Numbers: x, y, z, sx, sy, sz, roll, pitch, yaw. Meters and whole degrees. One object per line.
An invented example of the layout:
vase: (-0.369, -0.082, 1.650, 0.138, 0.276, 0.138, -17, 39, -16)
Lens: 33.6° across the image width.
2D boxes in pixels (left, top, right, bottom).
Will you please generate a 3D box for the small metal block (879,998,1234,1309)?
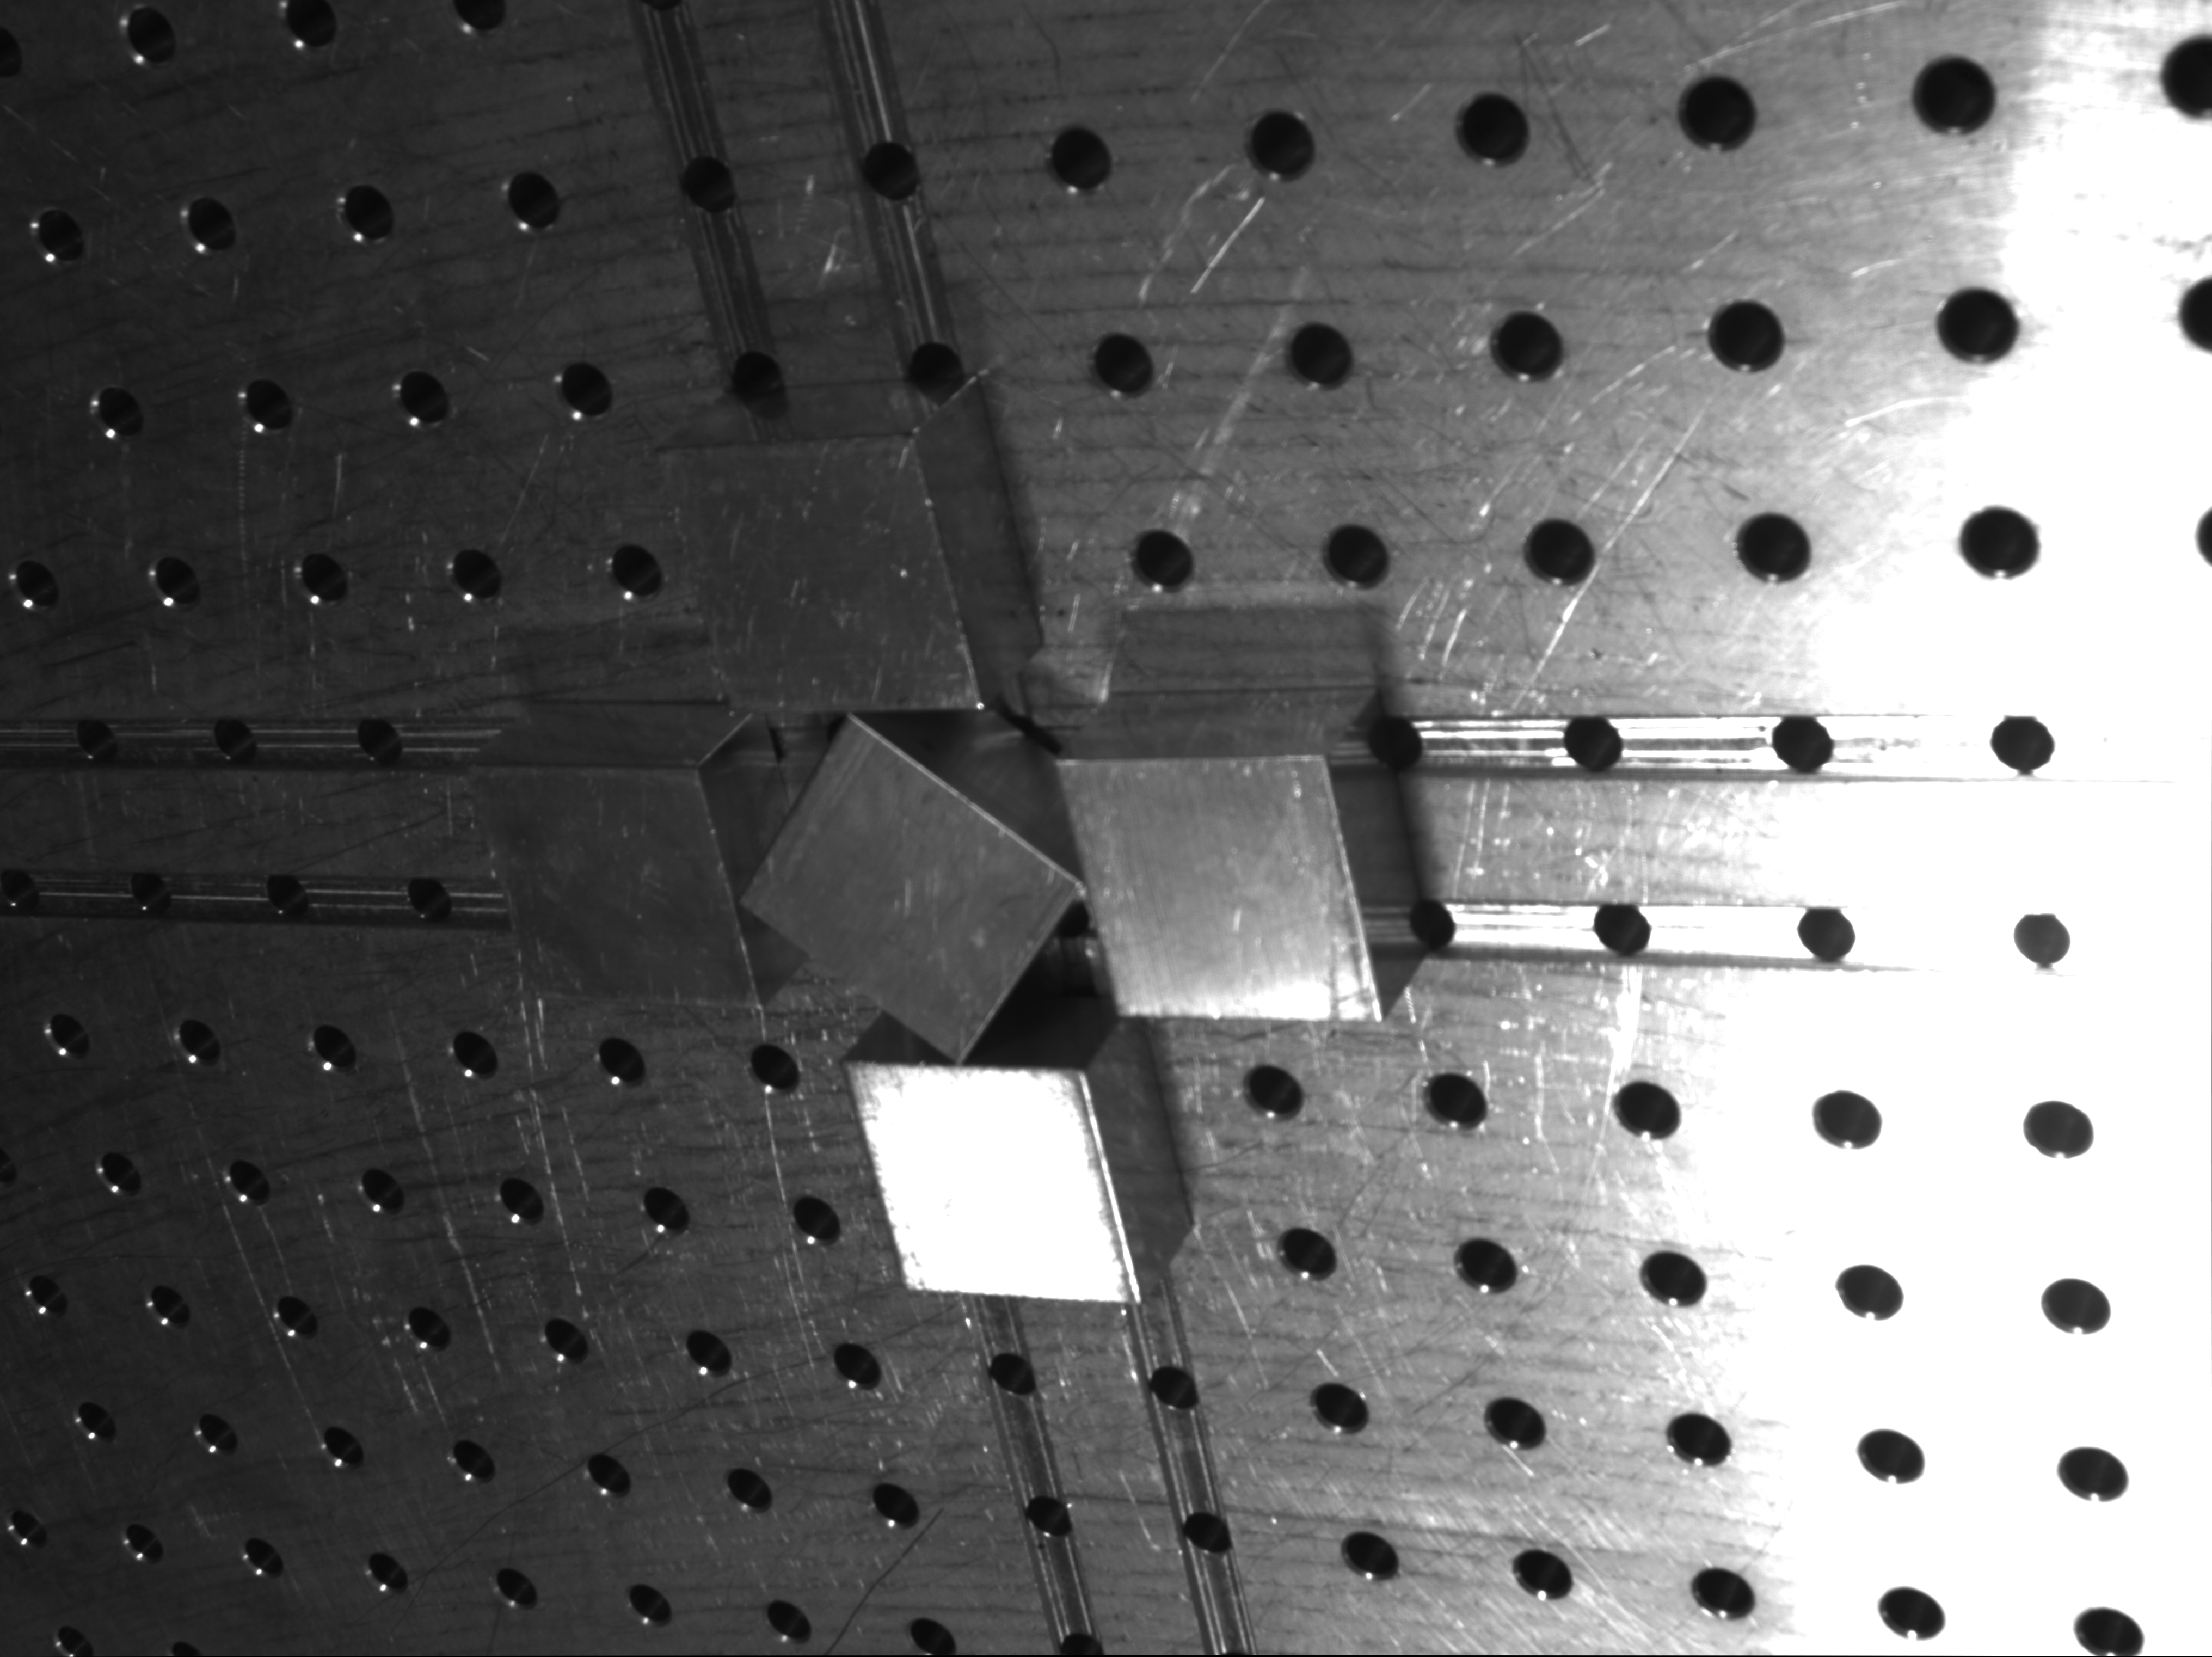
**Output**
small metal block: (-0.009, 0.059, 0.674, 0.050, 0.025, 0.050, 0, 118, 27)

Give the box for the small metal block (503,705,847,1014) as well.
small metal block: (-0.077, 0.005, 0.676, 0.050, 0.025, 0.050, 1, 119, 26)

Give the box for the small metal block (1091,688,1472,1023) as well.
small metal block: (0.030, 0.005, 0.622, 0.050, 0.025, 0.050, 0, 118, 27)

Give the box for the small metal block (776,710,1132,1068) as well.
small metal block: (-0.023, 0.006, 0.649, 0.050, 0.025, 0.050, 36, 128, 3)

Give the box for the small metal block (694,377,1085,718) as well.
small metal block: (-0.036, -0.047, 0.624, 0.050, 0.025, 0.050, -1, 118, 27)
